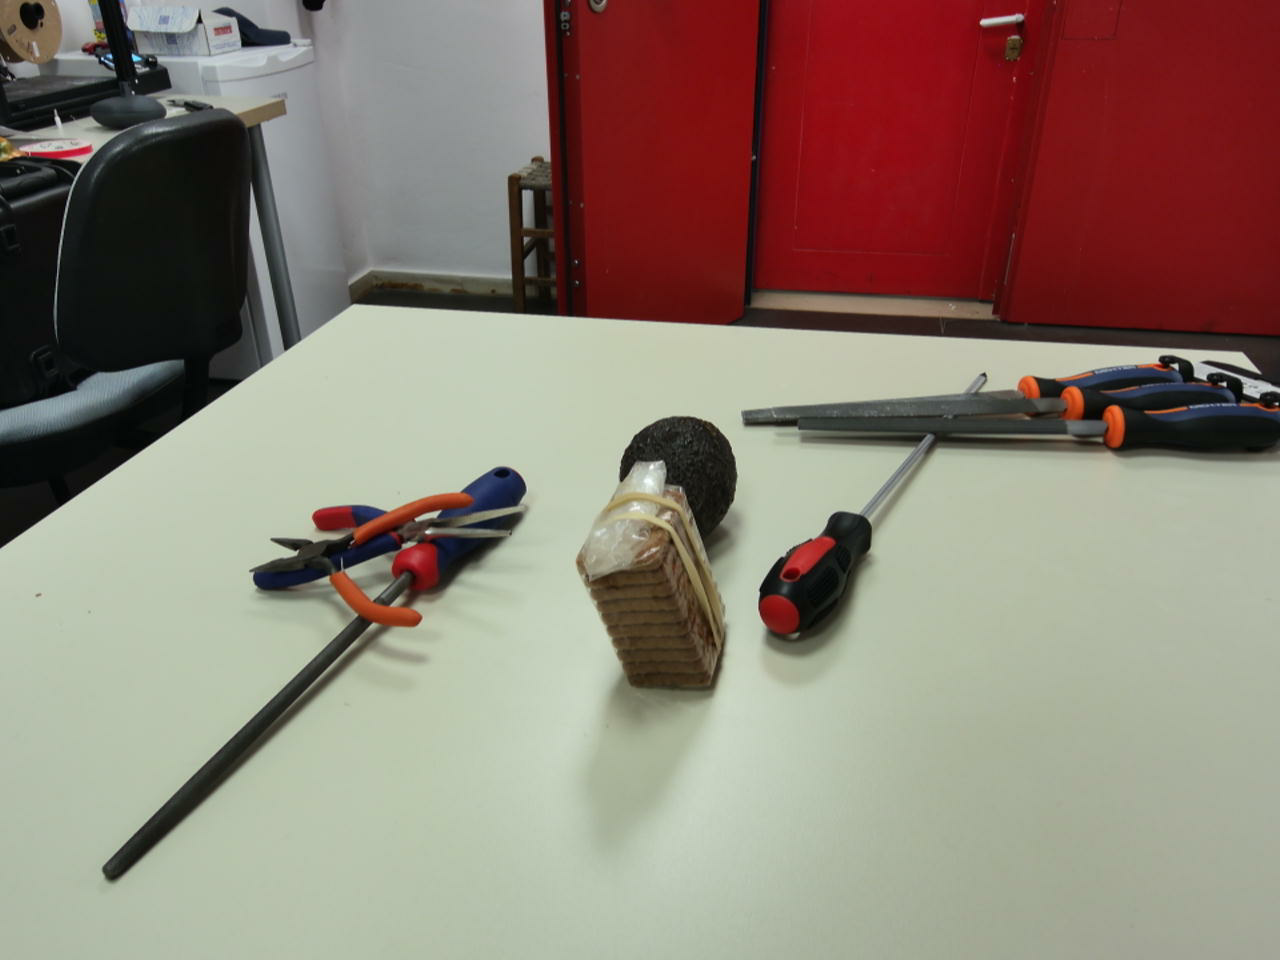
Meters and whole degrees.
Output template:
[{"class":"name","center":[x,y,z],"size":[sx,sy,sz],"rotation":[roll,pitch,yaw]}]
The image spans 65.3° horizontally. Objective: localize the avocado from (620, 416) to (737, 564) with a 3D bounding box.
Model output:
[{"class":"avocado","center":[0.019,0.001,0.585],"size":[0.070,0.069,0.090],"rotation":[16,32,33]}]
